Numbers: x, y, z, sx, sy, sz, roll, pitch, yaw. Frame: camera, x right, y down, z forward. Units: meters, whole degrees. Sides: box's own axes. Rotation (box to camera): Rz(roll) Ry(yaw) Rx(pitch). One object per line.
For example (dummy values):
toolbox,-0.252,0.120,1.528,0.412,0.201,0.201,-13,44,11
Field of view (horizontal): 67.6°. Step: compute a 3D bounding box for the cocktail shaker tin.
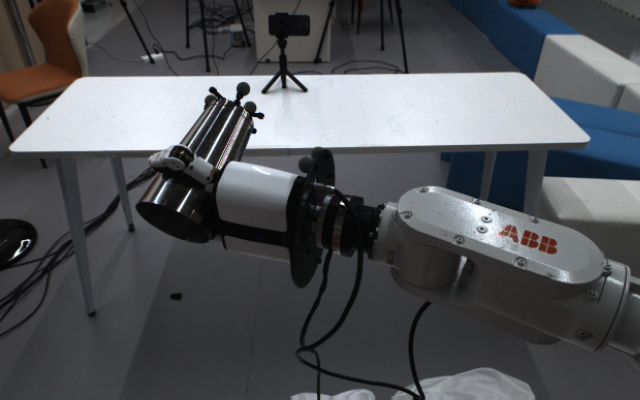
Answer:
cocktail shaker tin,-0.147,-0.041,0.602,0.093,0.093,0.170,13,61,16
